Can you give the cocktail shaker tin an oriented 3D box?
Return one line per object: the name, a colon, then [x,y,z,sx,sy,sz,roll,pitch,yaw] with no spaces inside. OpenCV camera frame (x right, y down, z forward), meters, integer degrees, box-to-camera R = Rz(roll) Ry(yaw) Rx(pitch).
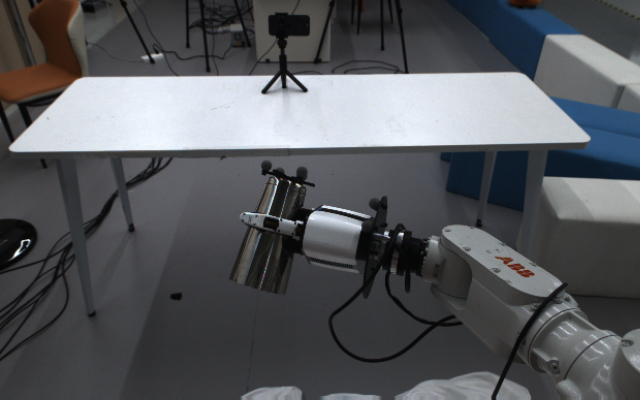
cocktail shaker tin: [-0.077,0.054,0.767,0.093,0.170,0.093,16,-6,2]
